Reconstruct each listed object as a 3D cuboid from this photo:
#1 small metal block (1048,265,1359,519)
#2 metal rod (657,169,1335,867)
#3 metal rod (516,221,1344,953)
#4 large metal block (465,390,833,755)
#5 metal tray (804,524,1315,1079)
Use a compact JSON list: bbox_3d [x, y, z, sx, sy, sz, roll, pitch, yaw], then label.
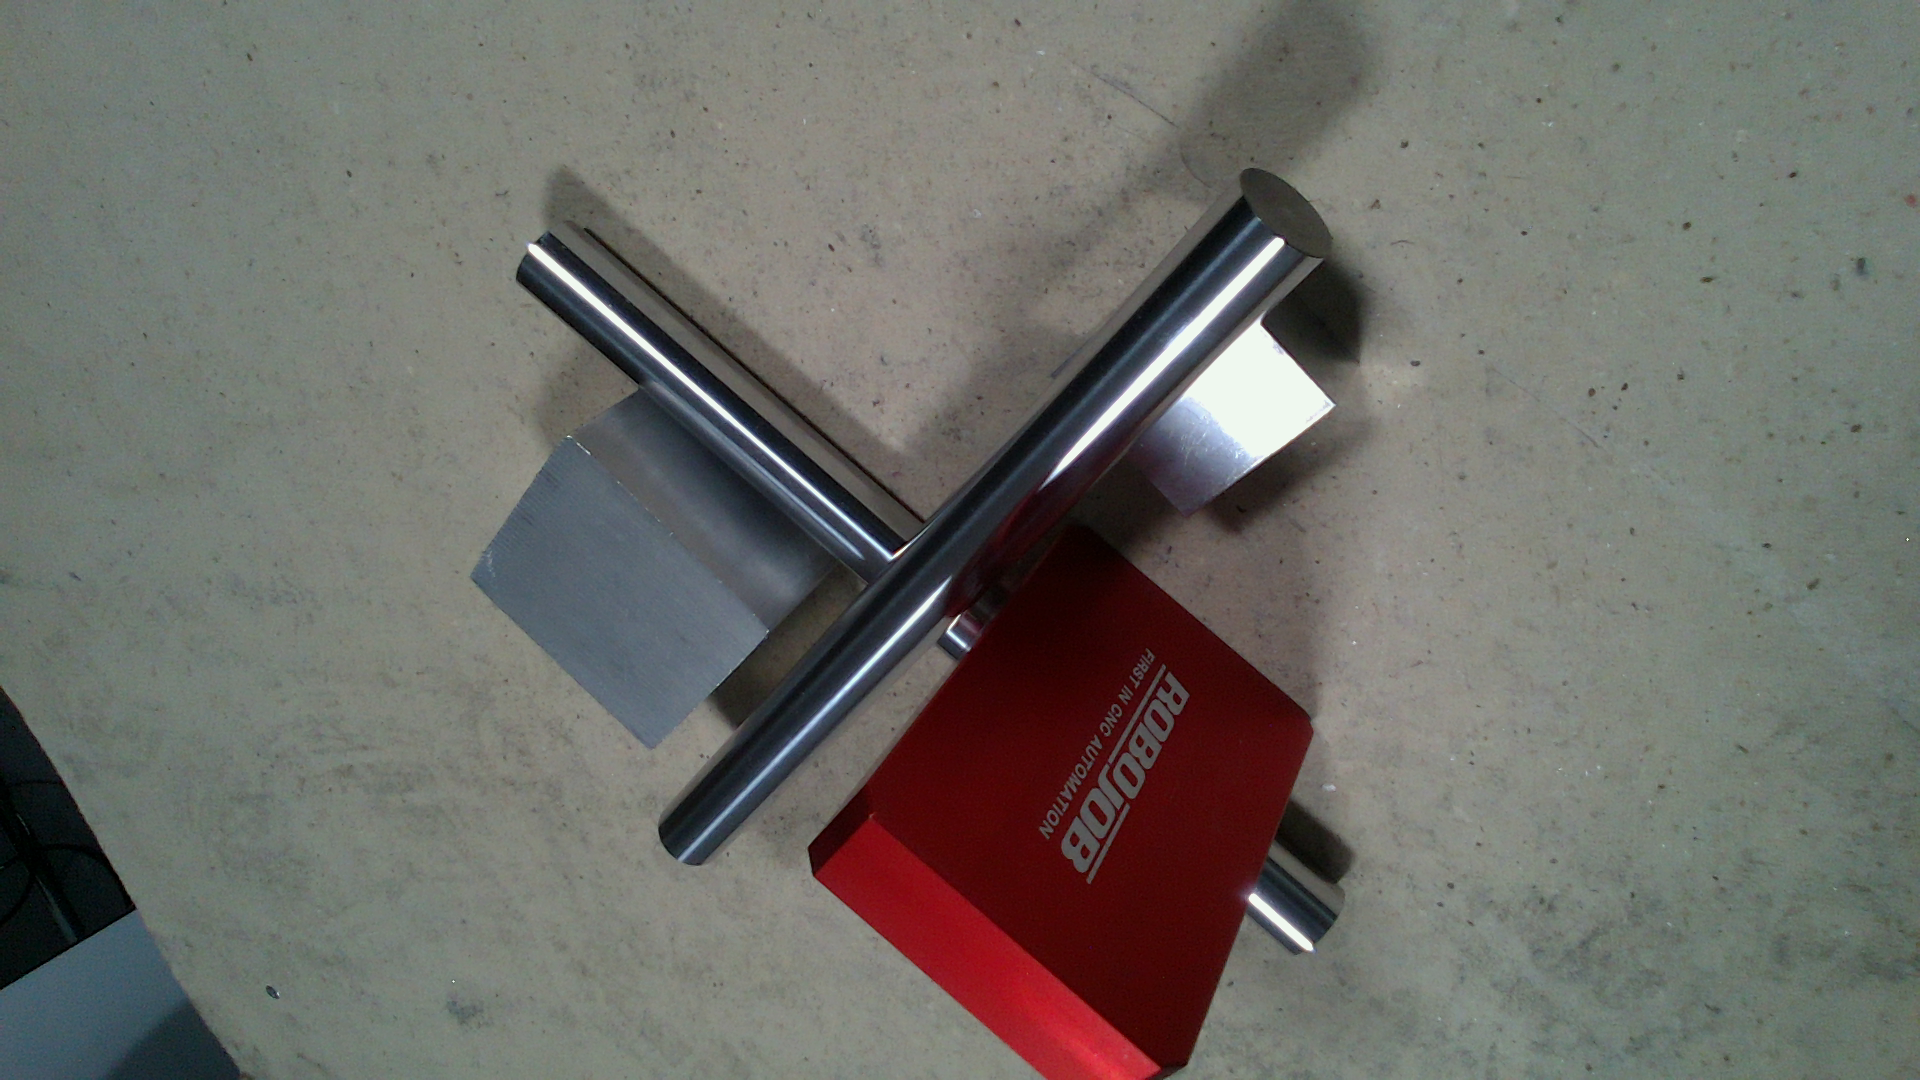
[{"bbox_3d":[0.059,-0.042,0.335,0.050,0.025,0.050,46,129,-4],"label":"small metal block"},{"bbox_3d":[-0.012,0.017,0.377,0.025,0.025,0.299,43,129,-1],"label":"metal rod"},{"bbox_3d":[-0.009,0.014,0.407,0.300,0.025,0.025,41,129,0],"label":"metal rod"},{"bbox_3d":[-0.095,0.008,0.431,0.080,0.050,0.080,45,129,-3],"label":"large metal block"},{"bbox_3d":[0.032,0.062,0.346,0.090,0.130,0.030,41,130,1],"label":"metal tray"}]
